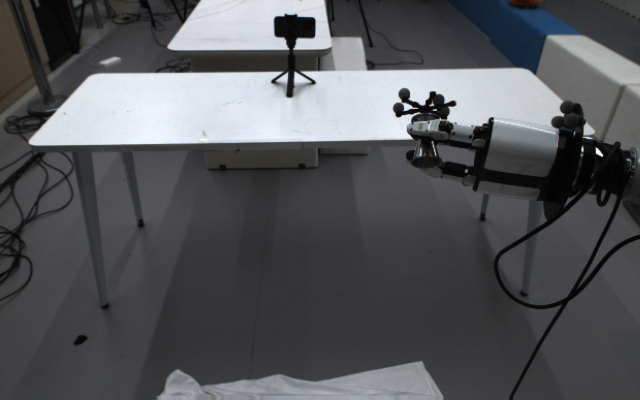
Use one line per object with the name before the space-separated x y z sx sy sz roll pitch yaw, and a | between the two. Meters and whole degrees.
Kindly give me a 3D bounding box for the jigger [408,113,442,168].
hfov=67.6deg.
jigger | 0.149 -0.087 0.688 0.043 0.043 0.071 3 72 1
